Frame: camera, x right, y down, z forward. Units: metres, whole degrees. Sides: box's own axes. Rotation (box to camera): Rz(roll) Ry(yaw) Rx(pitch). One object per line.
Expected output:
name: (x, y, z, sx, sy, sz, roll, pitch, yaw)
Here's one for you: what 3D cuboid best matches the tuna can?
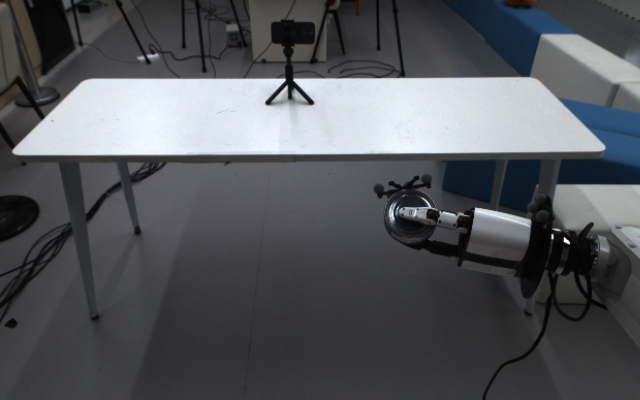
tuna can: (0.147, 0.023, 0.776, 0.085, 0.034, 0.085, -4, 68, 9)
